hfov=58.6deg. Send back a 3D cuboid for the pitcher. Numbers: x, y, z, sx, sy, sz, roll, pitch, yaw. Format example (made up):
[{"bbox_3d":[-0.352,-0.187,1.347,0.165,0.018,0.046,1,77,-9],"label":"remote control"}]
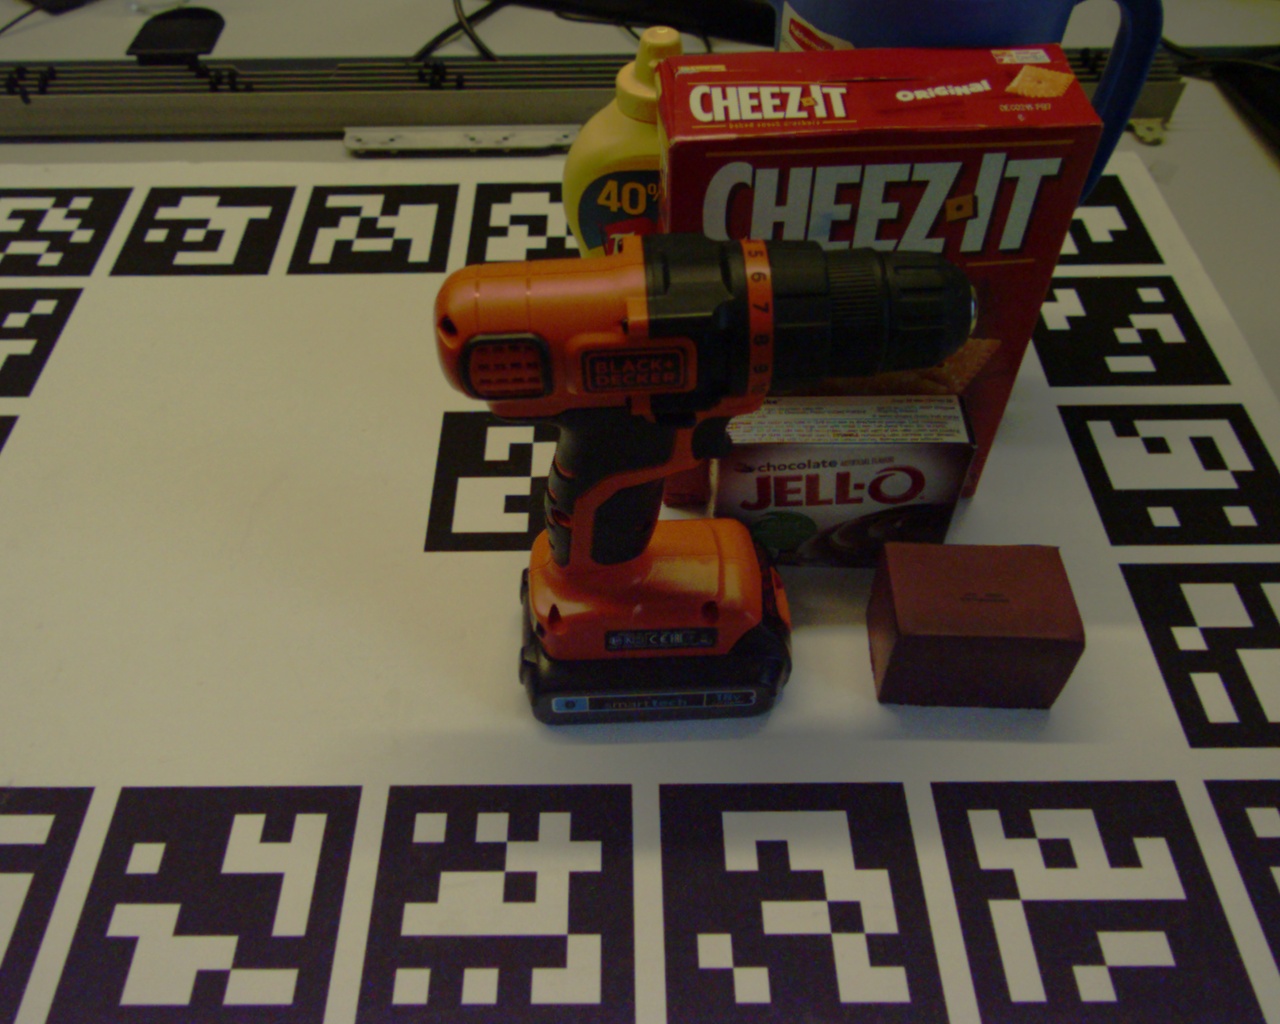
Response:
[{"bbox_3d":[0.137,-0.173,0.606,0.189,0.241,0.133,3,50,6],"label":"pitcher"}]

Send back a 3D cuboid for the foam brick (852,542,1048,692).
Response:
[{"bbox_3d":[0.142,0.050,0.536,0.078,0.051,0.053,1,51,2],"label":"foam brick"}]

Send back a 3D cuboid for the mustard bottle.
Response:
[{"bbox_3d":[0.004,-0.165,0.616,0.096,0.191,0.058,10,51,9],"label":"mustard bottle"}]

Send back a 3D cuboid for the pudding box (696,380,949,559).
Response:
[{"bbox_3d":[0.084,-0.020,0.553,0.114,0.089,0.039,-1,48,3],"label":"pudding box"}]

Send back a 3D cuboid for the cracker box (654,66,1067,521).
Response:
[{"bbox_3d":[0.091,-0.092,0.544,0.164,0.212,0.072,-3,48,1],"label":"cracker box"}]

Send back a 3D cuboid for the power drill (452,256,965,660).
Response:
[{"bbox_3d":[0.024,-0.017,0.461,0.184,0.186,0.057,-1,46,-1],"label":"power drill"}]
